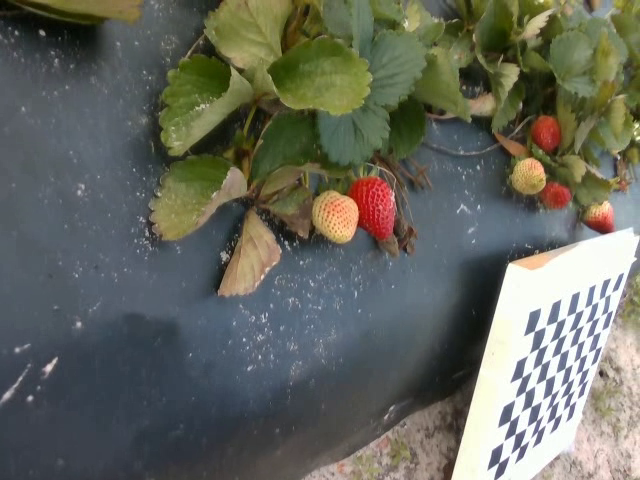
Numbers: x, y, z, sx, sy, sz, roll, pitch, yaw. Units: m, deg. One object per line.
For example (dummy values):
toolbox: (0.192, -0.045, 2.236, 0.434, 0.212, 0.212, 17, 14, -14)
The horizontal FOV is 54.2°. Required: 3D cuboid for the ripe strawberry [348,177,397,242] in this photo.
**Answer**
ripe strawberry: (0.031, -0.017, 0.346, 0.033, 0.042, 0.034, -38, -40, 11)
